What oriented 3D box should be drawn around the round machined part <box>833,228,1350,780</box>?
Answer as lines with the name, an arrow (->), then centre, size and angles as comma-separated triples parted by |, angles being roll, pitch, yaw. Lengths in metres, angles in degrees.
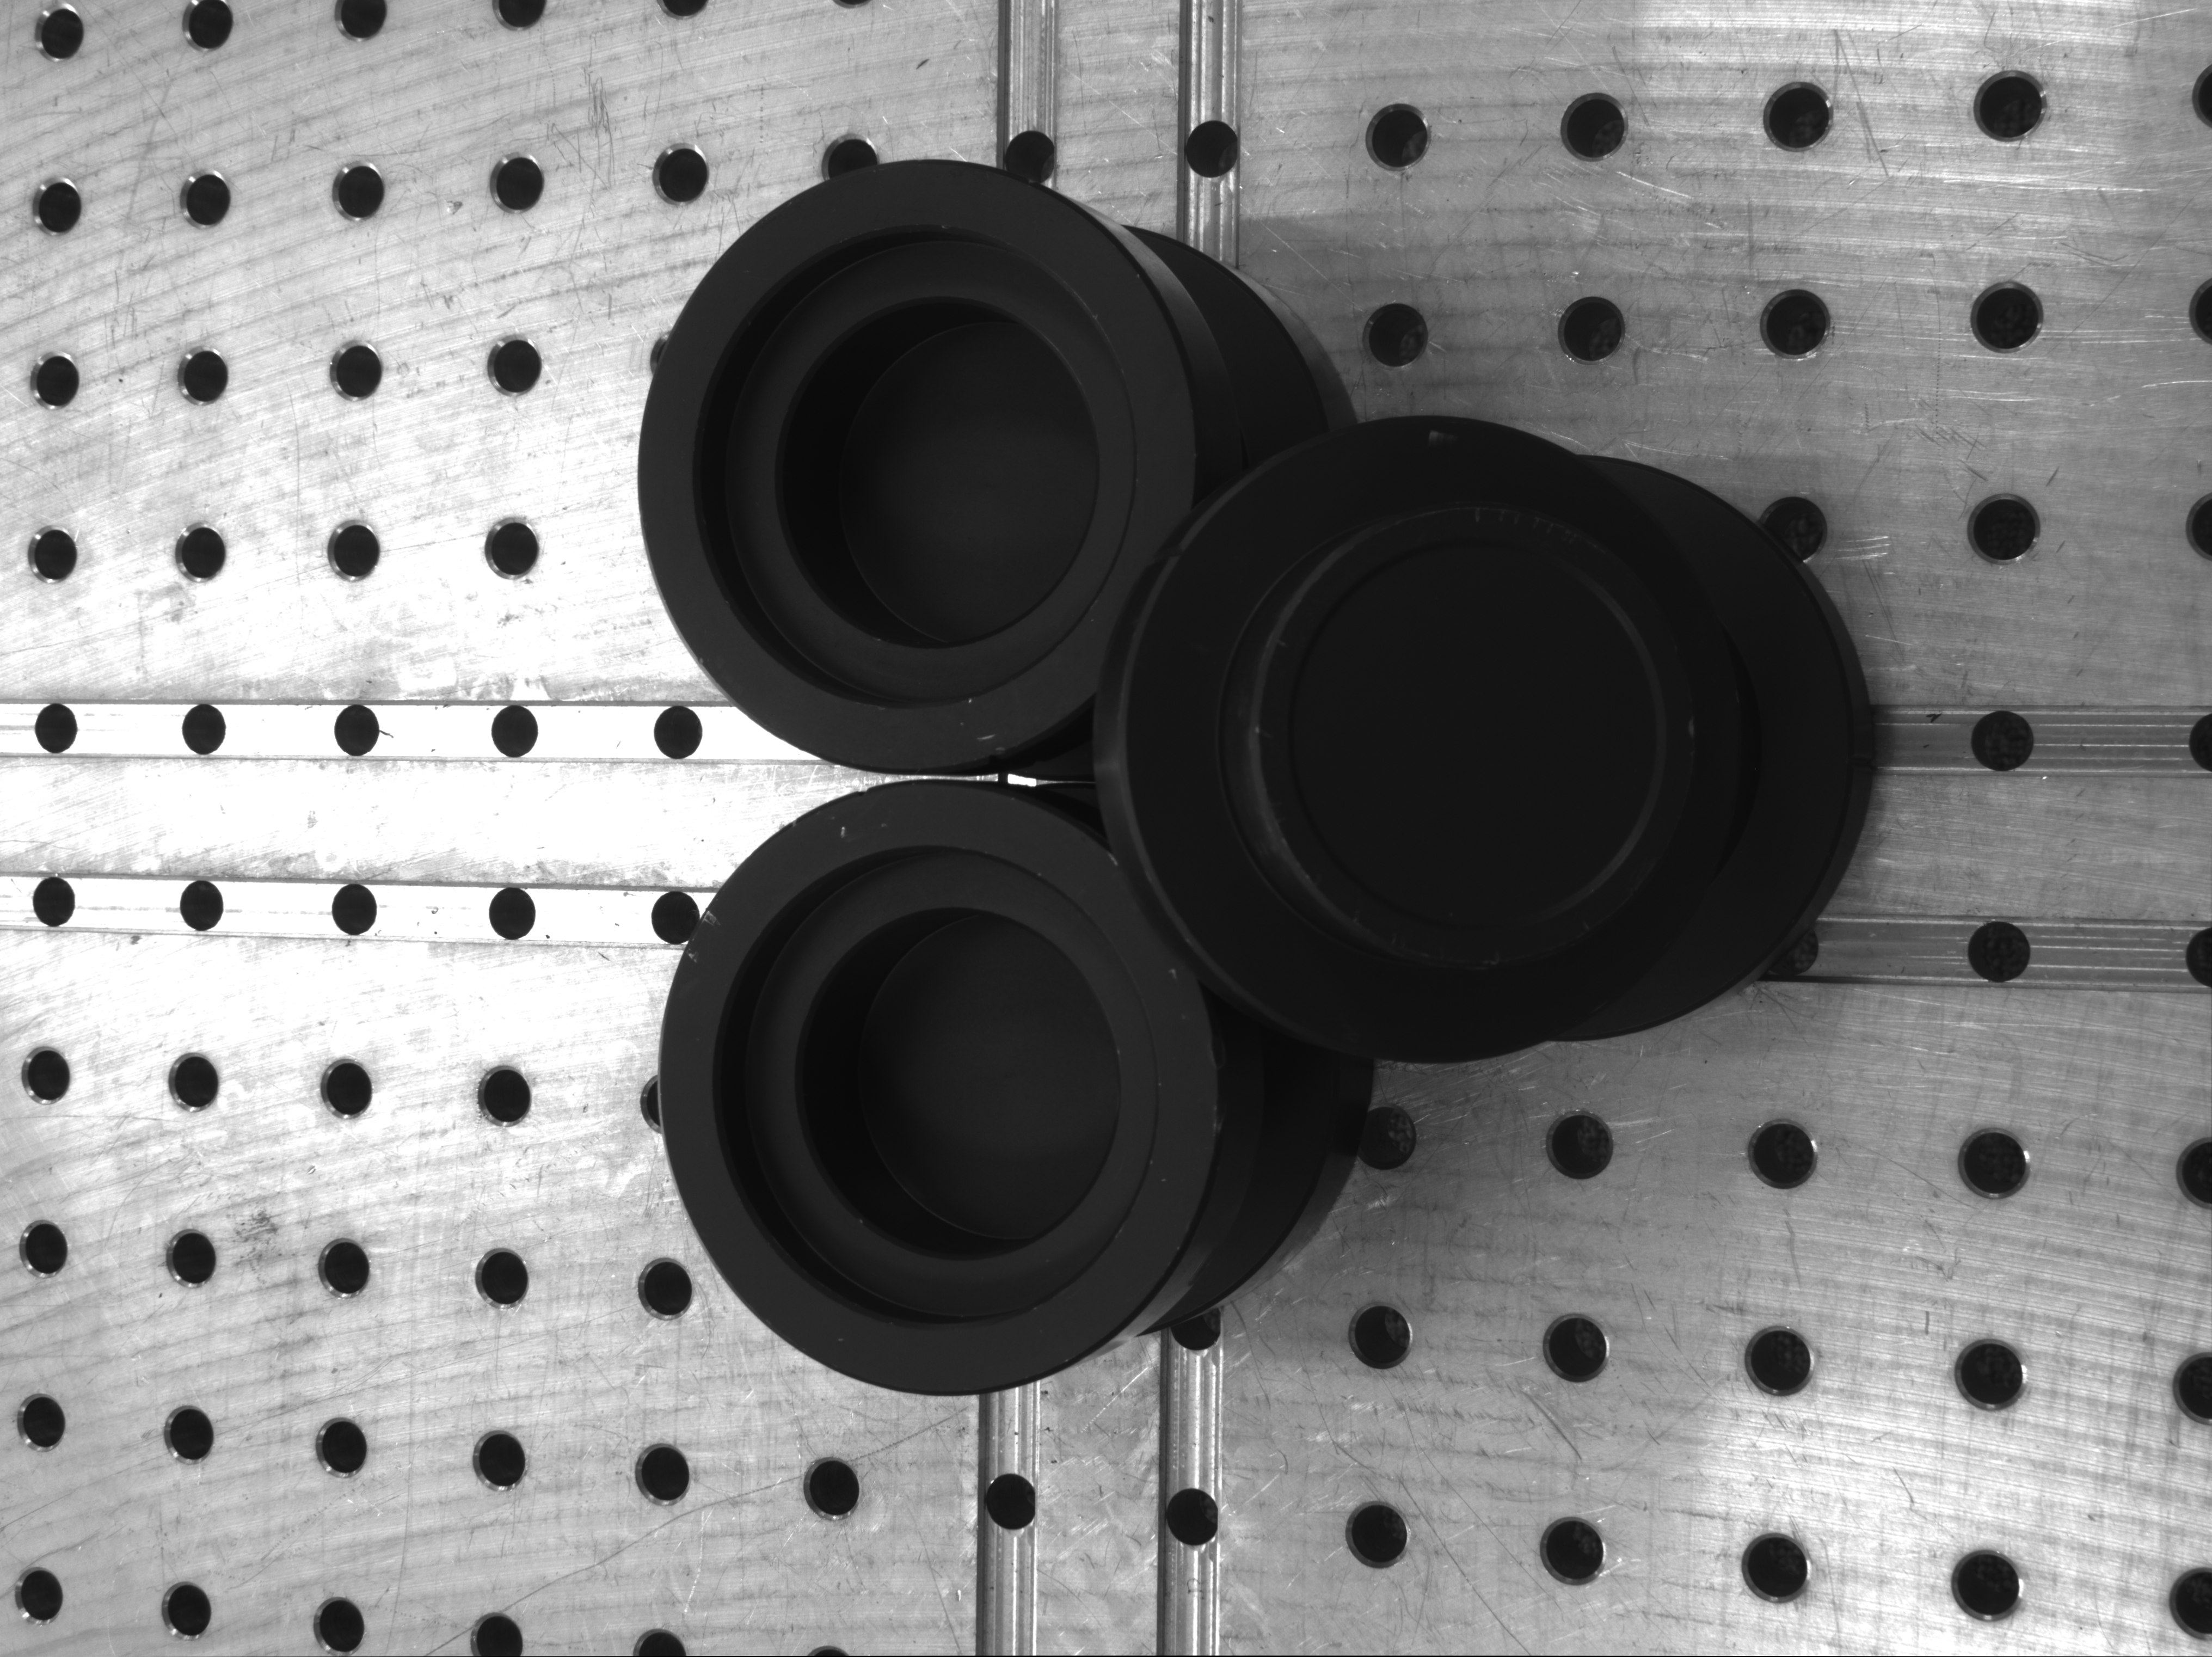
round machined part -> -0.008, -0.057, 0.644 | 0.098, 0.042, 0.098 | 0, 90, 20

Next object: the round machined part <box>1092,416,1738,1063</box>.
round machined part -> 0.050, -0.014, 0.555 | 0.098, 0.042, 0.098 | 0, 89, -12

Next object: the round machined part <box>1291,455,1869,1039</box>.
round machined part -> 0.075, -0.014, 0.613 | 0.098, 0.042, 0.098 | 0, 90, 20

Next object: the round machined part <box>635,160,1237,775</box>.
round machined part -> -0.025, -0.057, 0.604 | 0.098, 0.042, 0.098 | 0, 90, 20

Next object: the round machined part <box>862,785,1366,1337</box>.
round machined part -> -0.007, 0.041, 0.643 | 0.098, 0.042, 0.098 | 0, 90, 20

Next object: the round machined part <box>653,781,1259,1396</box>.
round machined part -> -0.021, 0.041, 0.603 | 0.098, 0.042, 0.098 | 0, 90, 20
